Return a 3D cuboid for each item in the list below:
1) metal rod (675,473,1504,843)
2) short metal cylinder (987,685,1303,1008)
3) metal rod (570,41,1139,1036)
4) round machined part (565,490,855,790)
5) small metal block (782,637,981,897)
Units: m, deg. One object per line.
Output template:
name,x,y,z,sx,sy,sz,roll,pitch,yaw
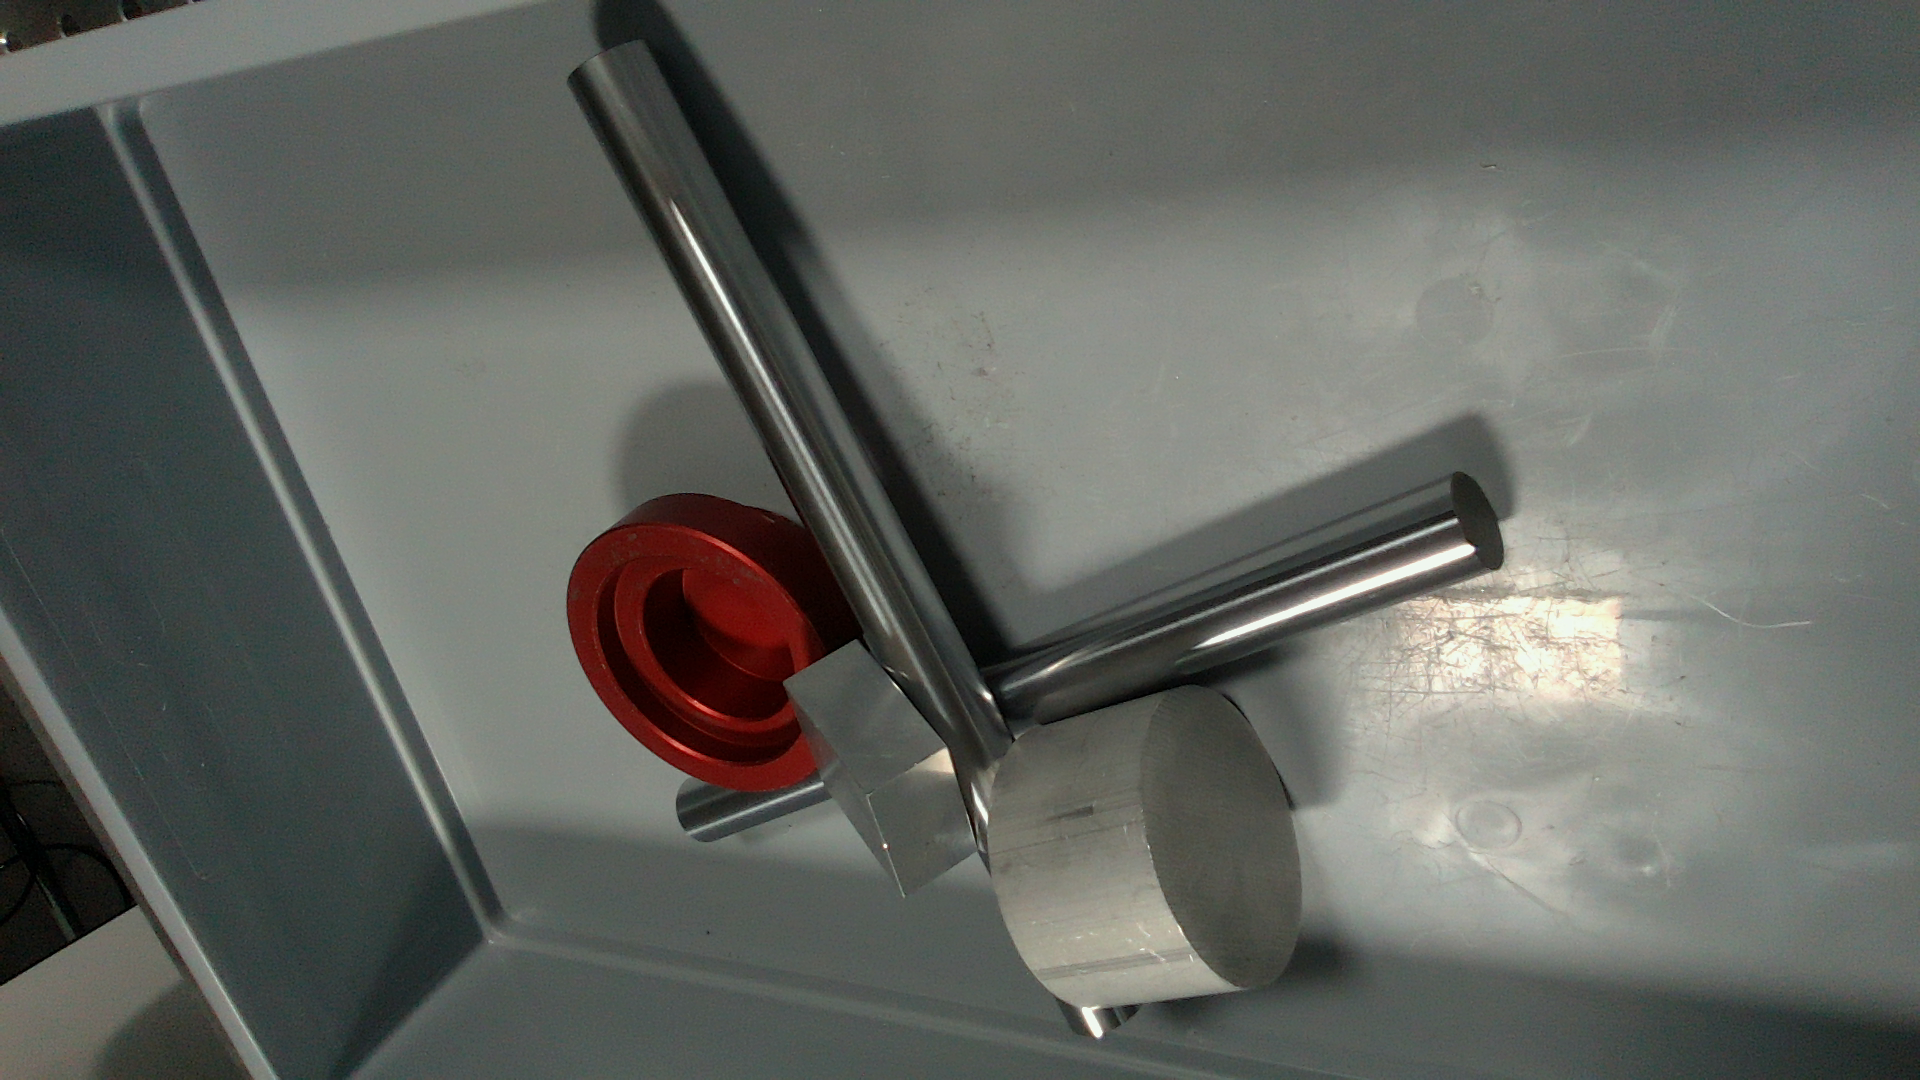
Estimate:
metal rod,0.014,0.047,0.413,0.299,0.025,0.025,-25,105,37
short metal cylinder,0.052,0.085,0.380,0.050,0.080,0.080,-21,107,36
metal rod,-0.024,0.007,0.385,0.025,0.025,0.300,-21,100,36
round machined part,-0.072,0.027,0.437,0.098,0.042,0.098,13,124,21
small metal block,-0.022,0.064,0.390,0.050,0.025,0.050,45,158,42
